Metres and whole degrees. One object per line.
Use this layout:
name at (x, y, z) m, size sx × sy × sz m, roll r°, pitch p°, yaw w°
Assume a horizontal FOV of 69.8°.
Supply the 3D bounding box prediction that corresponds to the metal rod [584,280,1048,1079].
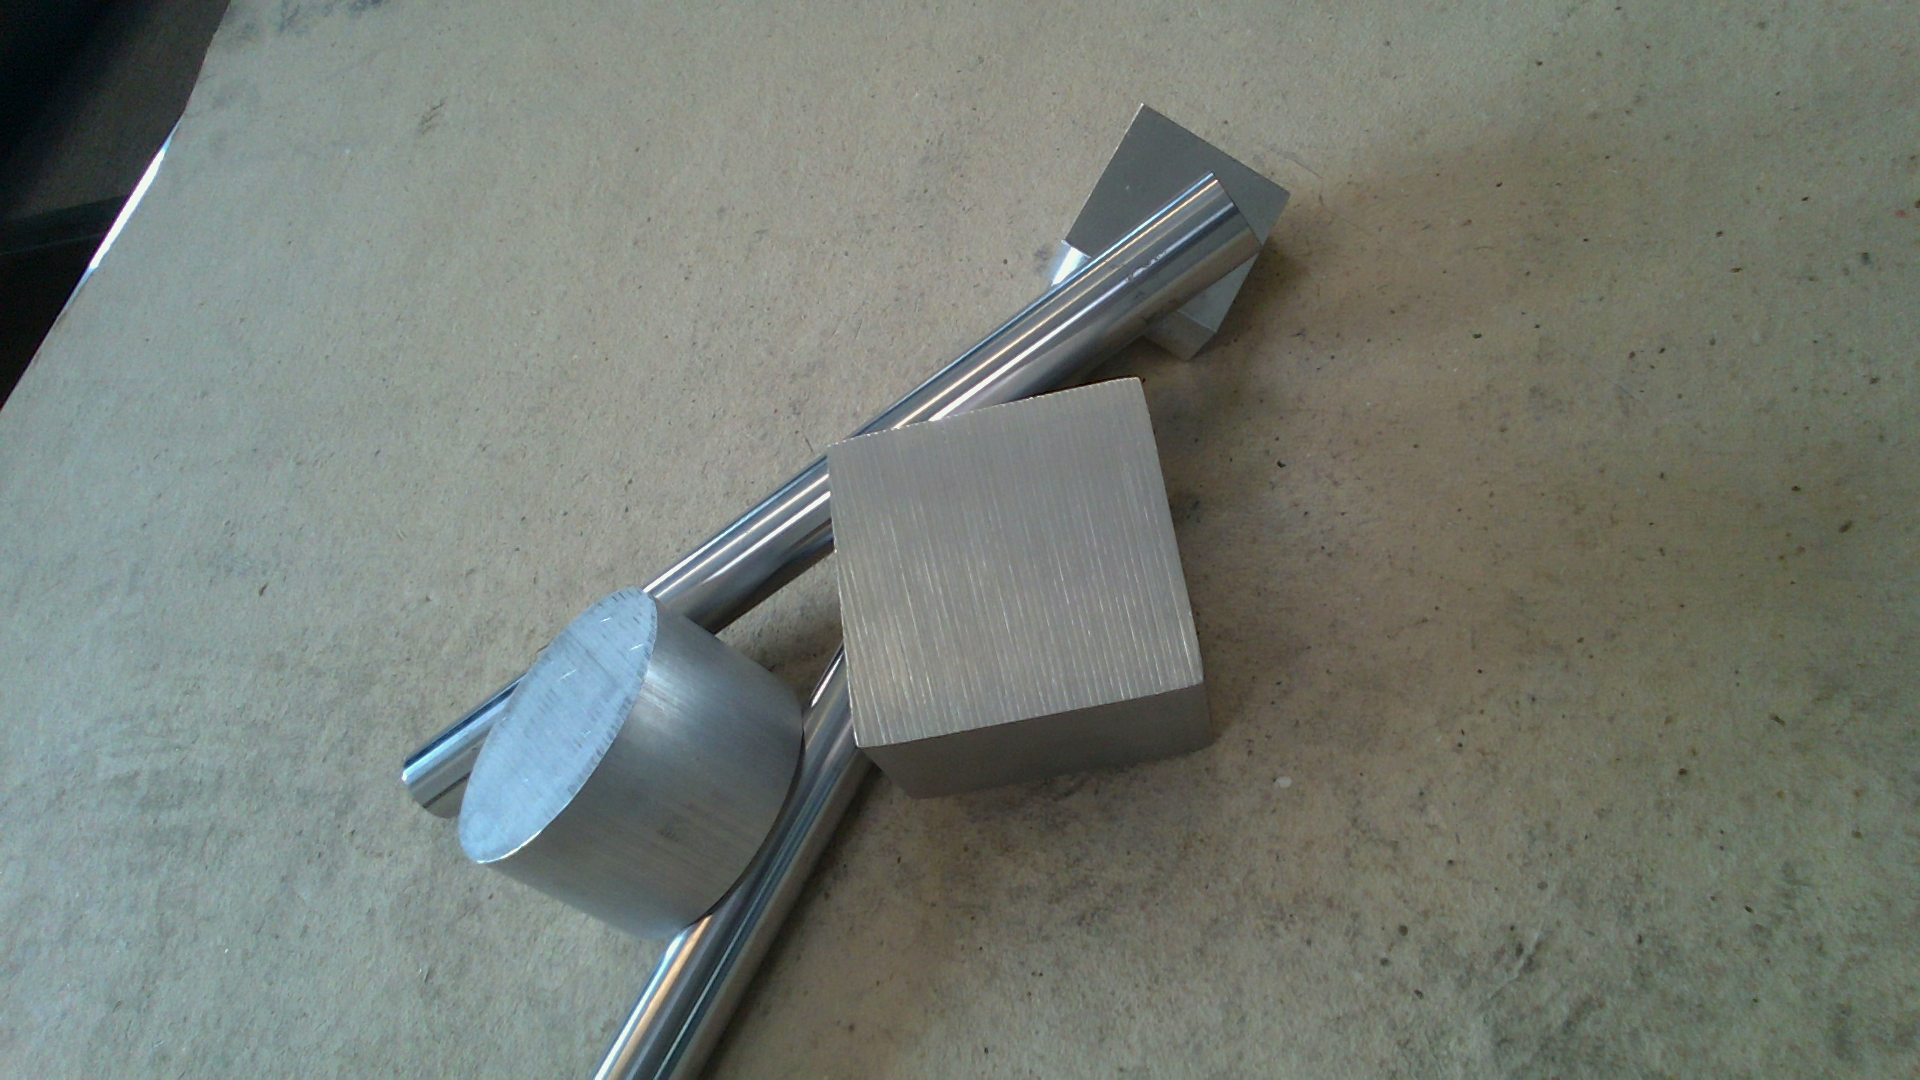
metal rod at (-0.018, 0.024, 0.388) m, size 0.025 × 0.025 × 0.300 m, roll 18°, pitch 71°, yaw 35°

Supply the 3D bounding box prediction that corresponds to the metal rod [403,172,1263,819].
metal rod at (-0.047, -0.005, 0.400) m, size 0.299 × 0.025 × 0.025 m, roll -34°, pitch 51°, yaw 14°

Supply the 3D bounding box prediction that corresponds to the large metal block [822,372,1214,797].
large metal block at (0.015, 0.013, 0.343) m, size 0.080 × 0.050 × 0.080 m, roll -11°, pitch 65°, yaw 7°

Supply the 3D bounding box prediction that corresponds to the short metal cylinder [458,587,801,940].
short metal cylinder at (-0.089, 0.060, 0.372) m, size 0.080 × 0.050 × 0.080 m, roll -33°, pitch 35°, yaw 27°

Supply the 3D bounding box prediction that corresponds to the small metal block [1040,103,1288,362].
small metal block at (0.059, -0.089, 0.401) m, size 0.050 × 0.025 × 0.050 m, roll 30°, pitch 74°, yaw -3°
